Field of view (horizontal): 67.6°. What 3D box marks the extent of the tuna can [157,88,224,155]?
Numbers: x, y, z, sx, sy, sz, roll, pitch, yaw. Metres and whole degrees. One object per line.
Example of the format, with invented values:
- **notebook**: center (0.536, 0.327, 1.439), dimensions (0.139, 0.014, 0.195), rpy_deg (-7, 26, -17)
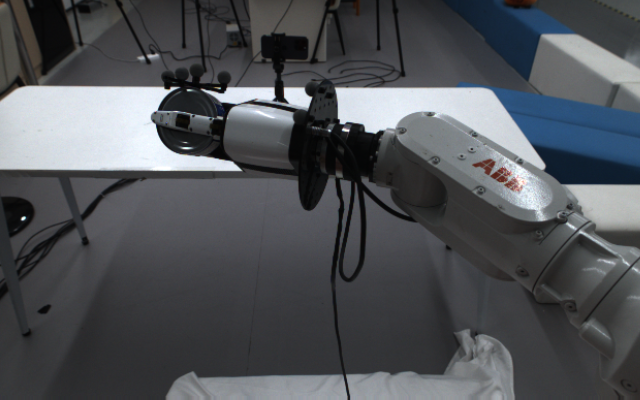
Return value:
- **tuna can**: center (-0.163, -0.100, 0.624), dimensions (0.085, 0.085, 0.034), rpy_deg (12, 3, 14)
